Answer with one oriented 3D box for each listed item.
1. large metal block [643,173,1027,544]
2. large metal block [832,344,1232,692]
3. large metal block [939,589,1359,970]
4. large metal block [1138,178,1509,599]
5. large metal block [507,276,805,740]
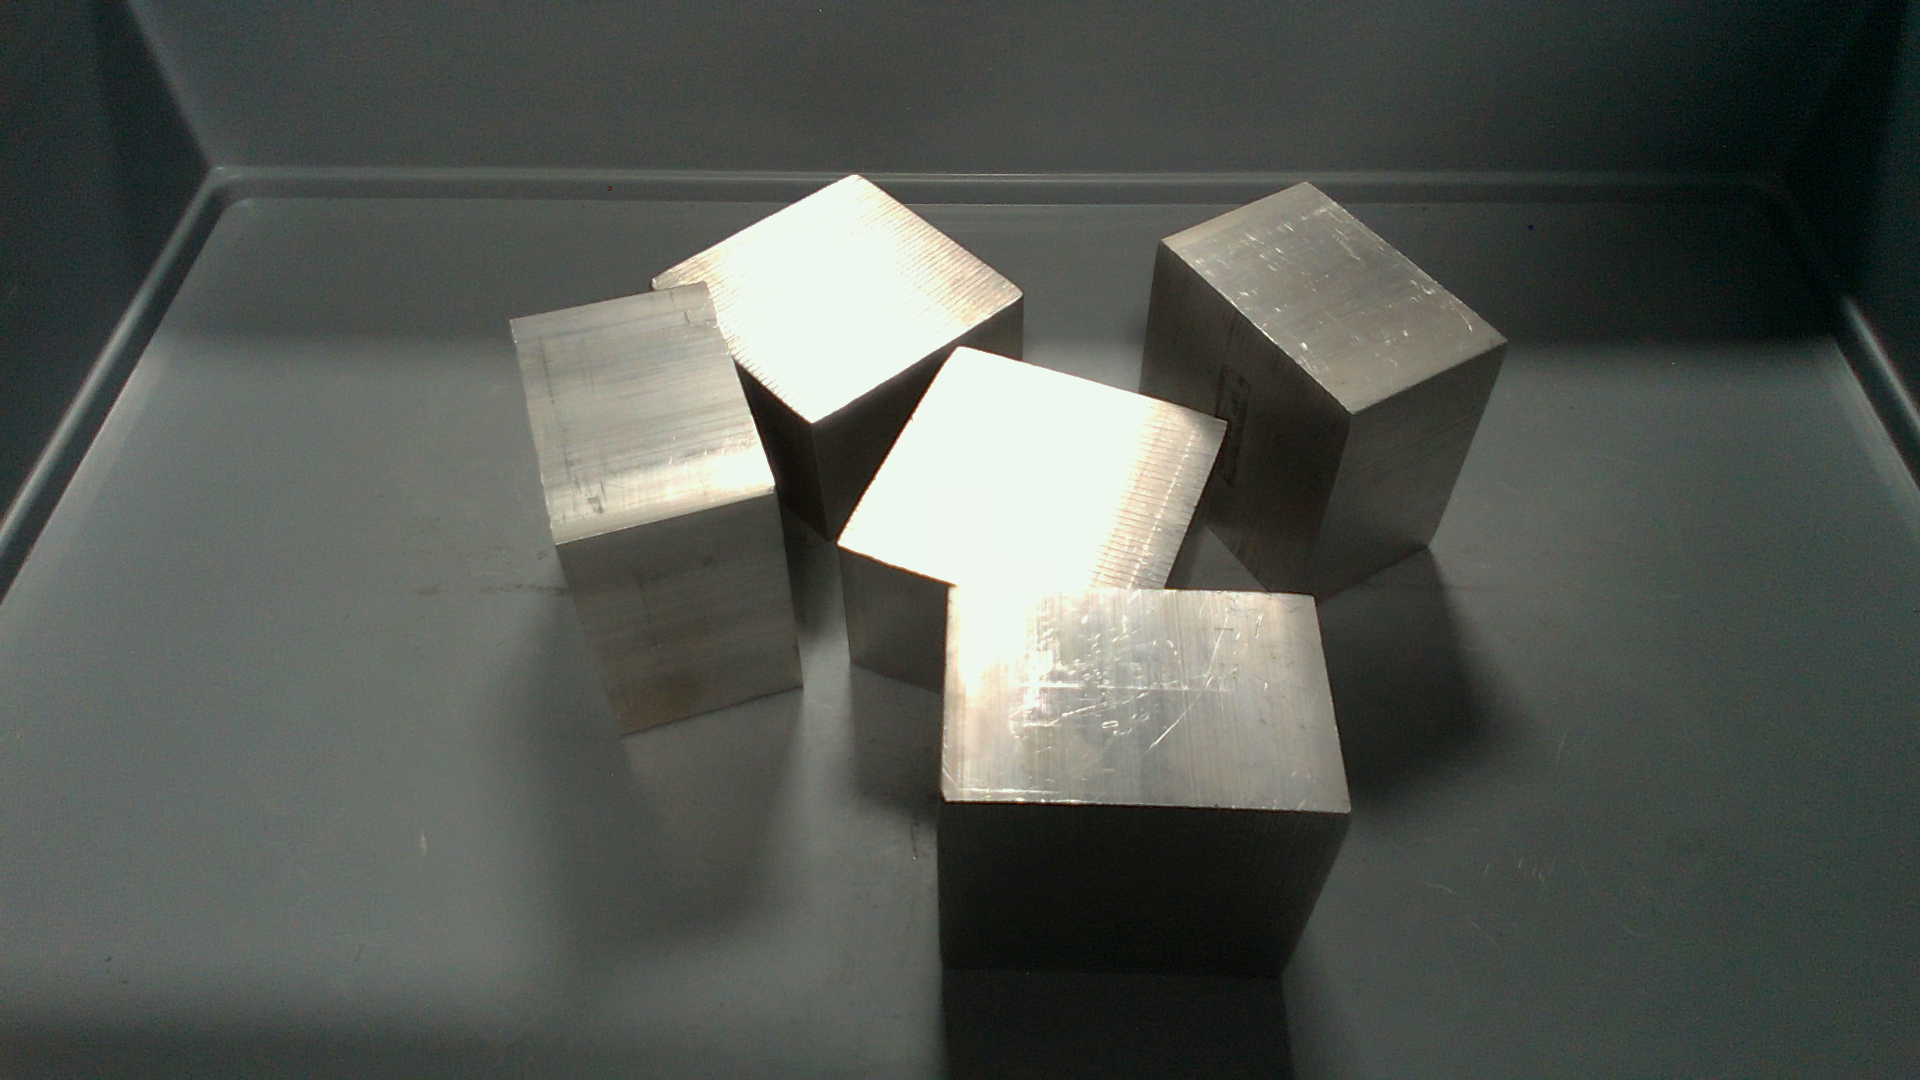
[{"bbox_3d":[-0.037,-0.058,0.423,0.080,0.050,0.080,-35,58,-26],"label":"large metal block"},{"bbox_3d":[0.021,0.001,0.374,0.080,0.050,0.080,17,52,14],"label":"large metal block"},{"bbox_3d":[0.037,0.056,0.308,0.080,0.080,0.050,0,50,1],"label":"large metal block"},{"bbox_3d":[0.096,-0.040,0.388,0.050,0.080,0.080,-25,54,-19],"label":"large metal block"},{"bbox_3d":[-0.079,-0.008,0.361,0.050,0.080,0.080,-15,51,-12],"label":"large metal block"}]
